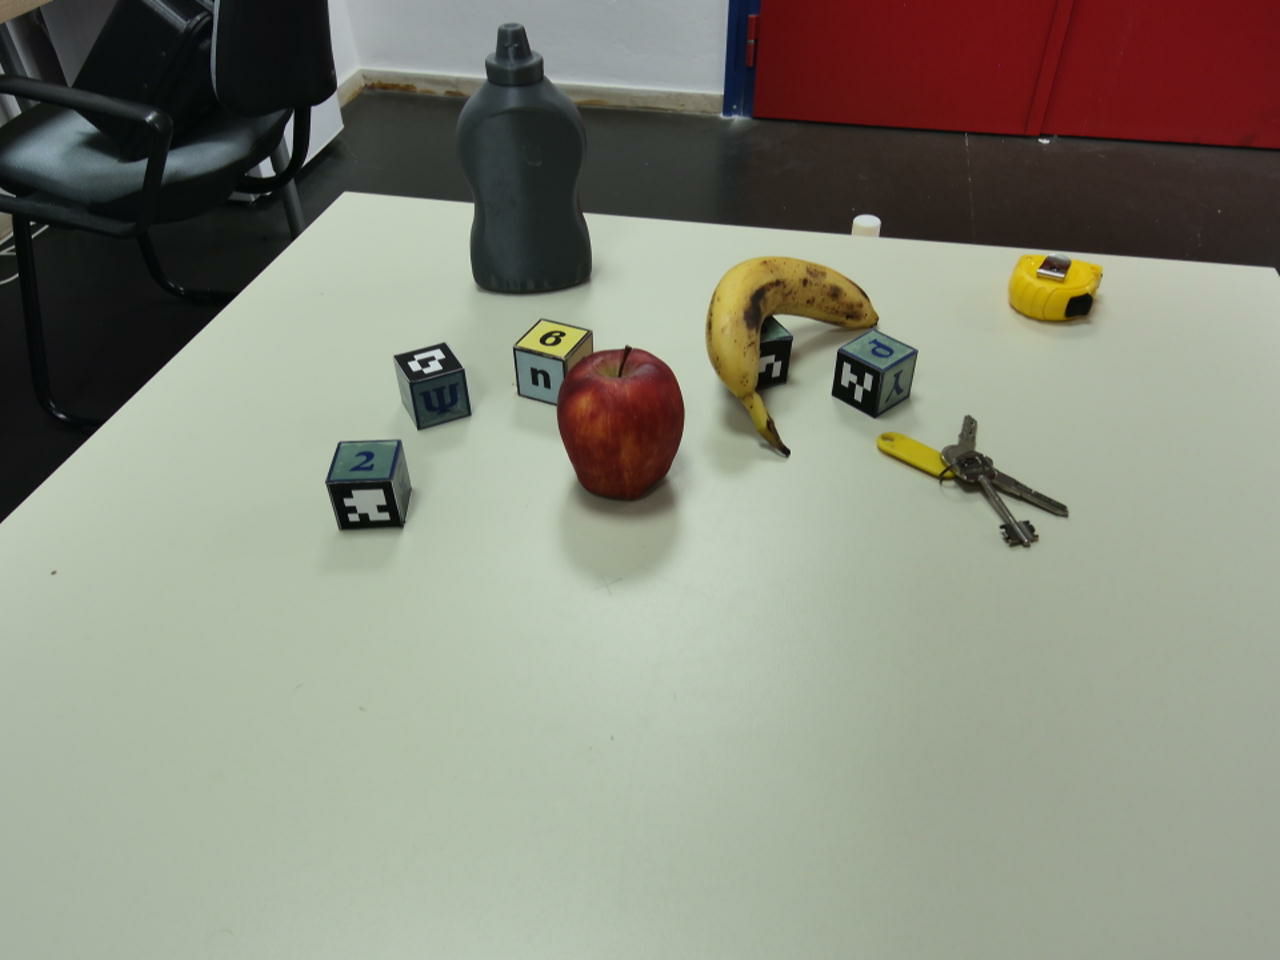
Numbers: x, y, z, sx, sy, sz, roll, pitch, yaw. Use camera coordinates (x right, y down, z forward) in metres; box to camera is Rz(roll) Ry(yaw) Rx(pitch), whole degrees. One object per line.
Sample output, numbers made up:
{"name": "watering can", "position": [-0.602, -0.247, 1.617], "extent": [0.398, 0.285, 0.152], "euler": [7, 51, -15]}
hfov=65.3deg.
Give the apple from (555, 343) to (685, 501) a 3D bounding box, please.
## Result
{"name": "apple", "position": [-0.012, -0.038, 0.583], "extent": [0.083, 0.090, 0.083], "euler": [-1, 39, 1]}
